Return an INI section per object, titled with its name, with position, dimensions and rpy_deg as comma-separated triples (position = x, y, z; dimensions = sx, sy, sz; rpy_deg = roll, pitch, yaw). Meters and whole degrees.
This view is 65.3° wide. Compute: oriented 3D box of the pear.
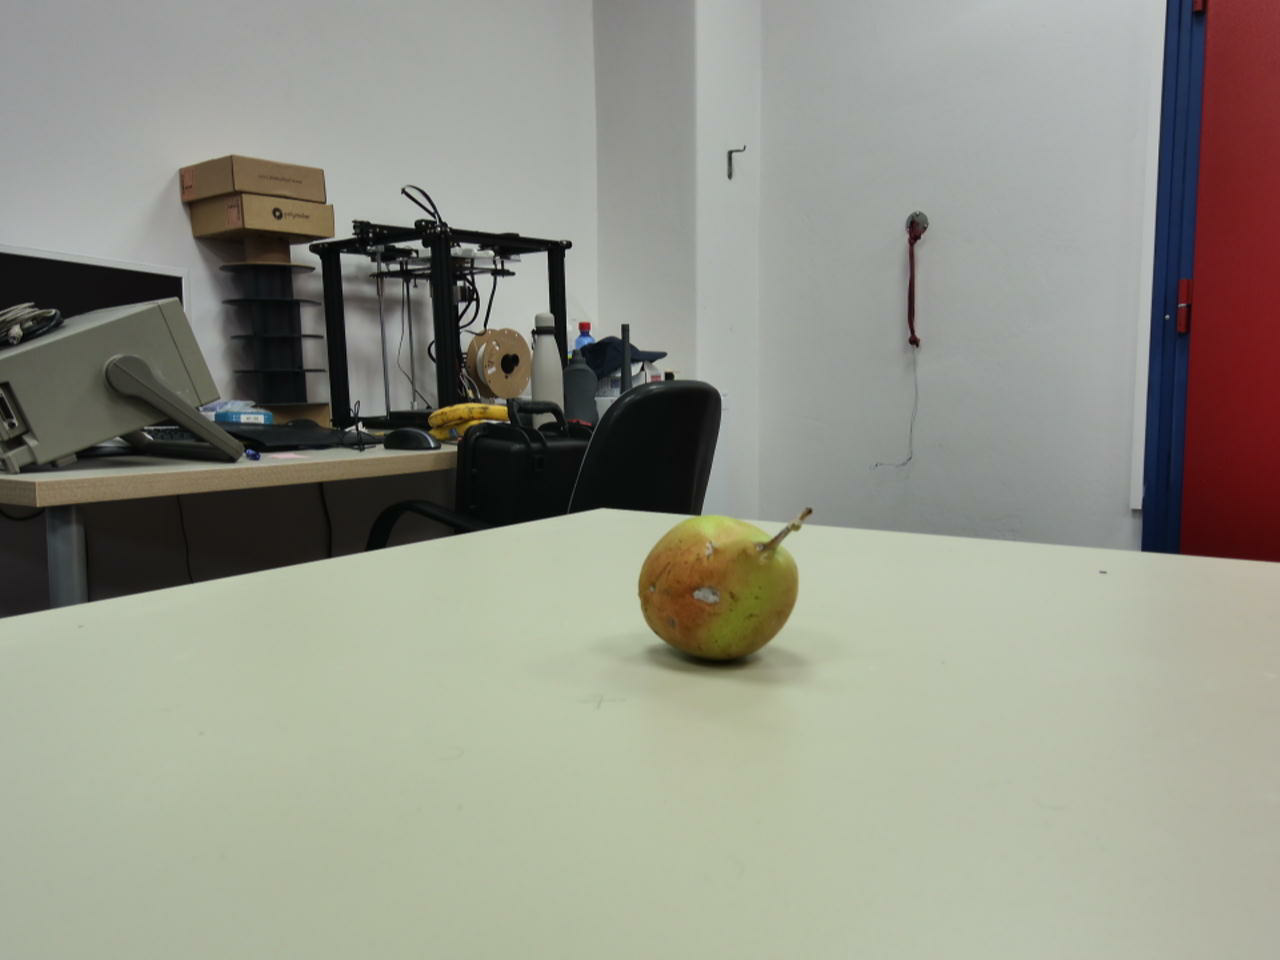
[pear]
position = 0.034, 0.044, 0.438
dimensions = 0.068, 0.069, 0.070
rpy_deg = 1, 3, -1
